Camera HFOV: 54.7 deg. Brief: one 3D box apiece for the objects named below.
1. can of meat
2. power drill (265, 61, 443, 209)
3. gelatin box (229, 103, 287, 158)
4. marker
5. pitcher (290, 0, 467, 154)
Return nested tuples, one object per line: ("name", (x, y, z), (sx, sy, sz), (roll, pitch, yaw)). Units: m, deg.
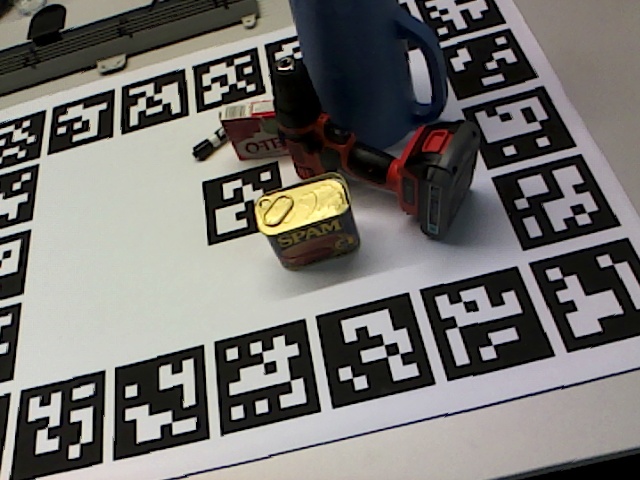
("can of meat", (-0.010, -0.014, 0.678), (0.102, 0.083, 0.058), (-15, 55, 5))
("power drill", (0.035, -0.108, 0.668), (0.188, 0.184, 0.057), (20, 69, 18))
("gelatin box", (-0.061, -0.138, 0.778), (0.089, 0.073, 0.030), (-4, 62, 10))
("marker", (-0.116, -0.158, 0.833), (0.121, 0.019, 0.020), (-37, 58, -8))
("pitcher", (0.062, -0.216, 0.700), (0.190, 0.241, 0.133), (12, 66, 28))
